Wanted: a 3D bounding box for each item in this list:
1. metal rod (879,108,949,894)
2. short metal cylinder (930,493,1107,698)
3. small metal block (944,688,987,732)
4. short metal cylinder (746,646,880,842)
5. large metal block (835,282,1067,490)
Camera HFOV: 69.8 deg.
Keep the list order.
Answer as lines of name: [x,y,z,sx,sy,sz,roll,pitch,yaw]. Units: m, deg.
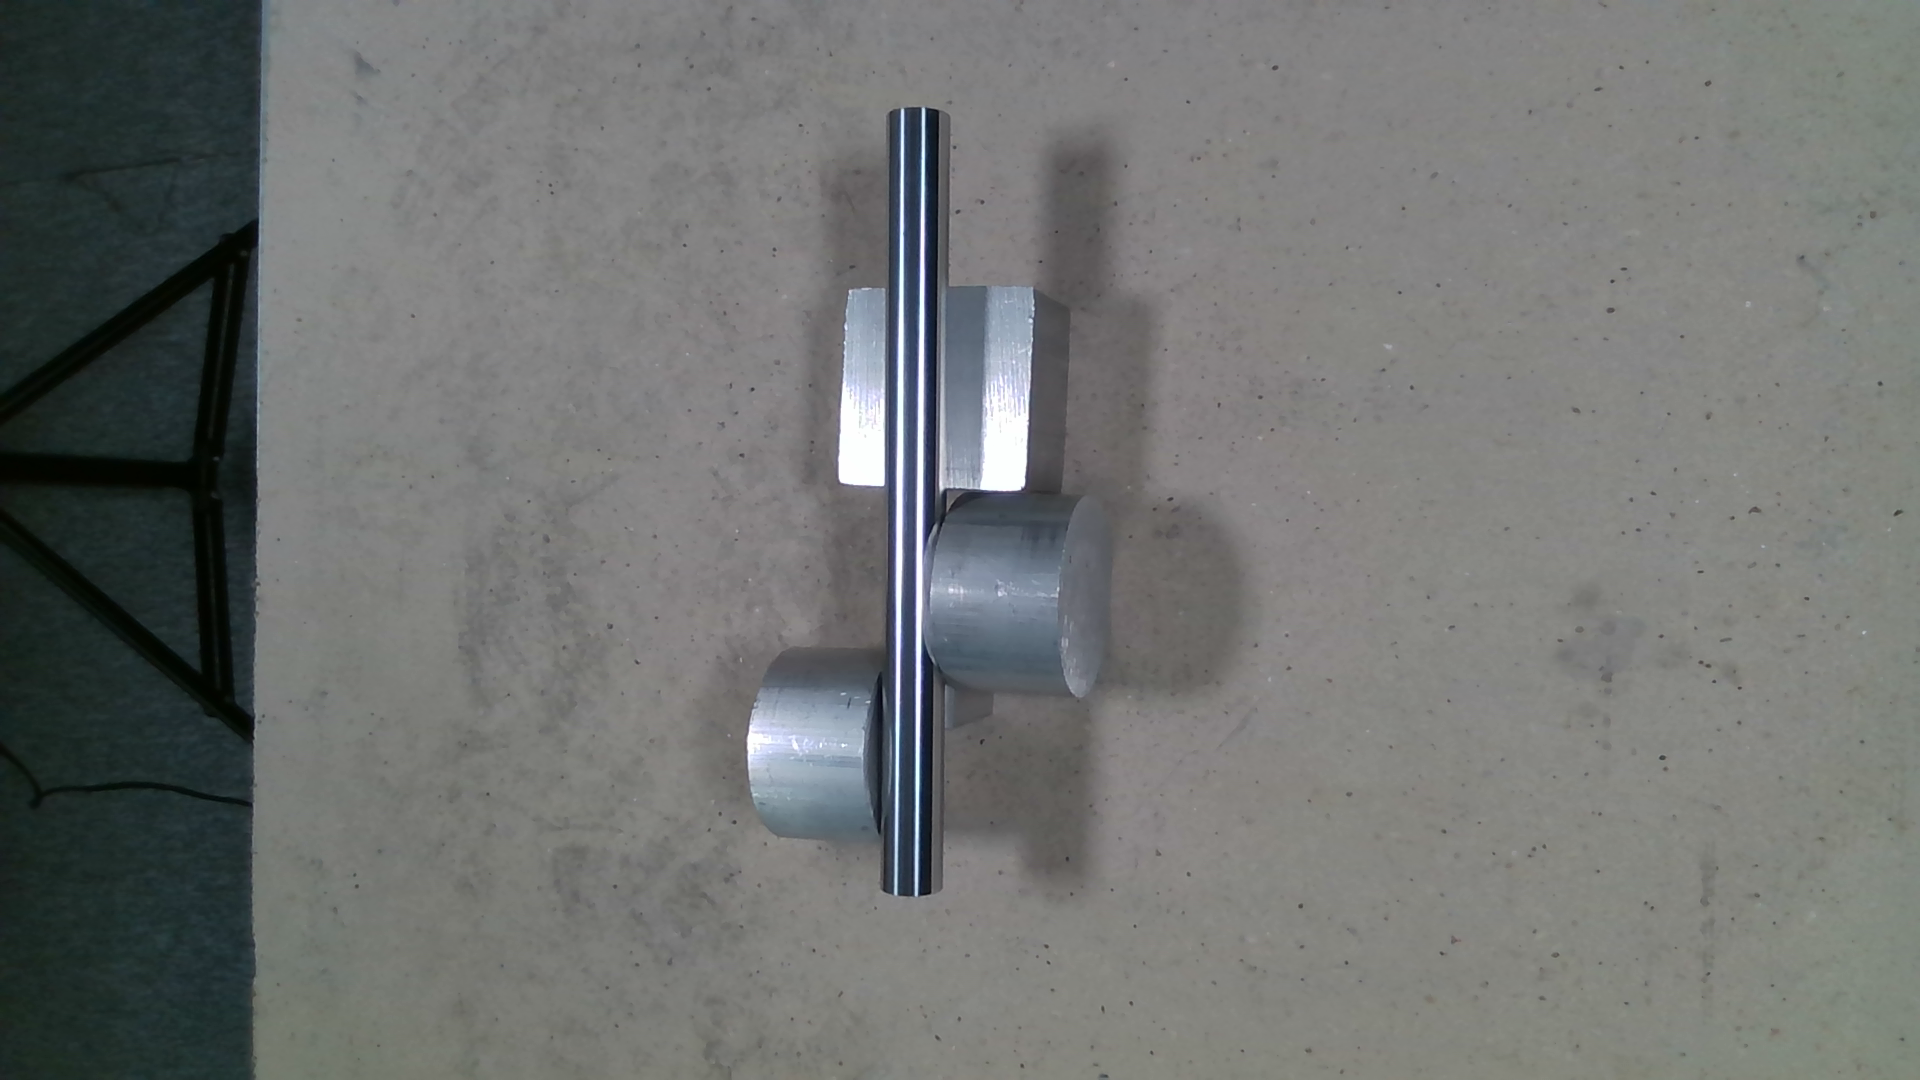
metal rod: [-0.018,-0.014,0.538,0.025,0.025,0.300,1,92,20]
short metal cylinder: [0.026,0.021,0.548,0.050,0.080,0.080,2,91,20]
small metal block: [-0.007,0.051,0.574,0.025,0.050,0.050,1,91,20]
short metal cylinder: [-0.048,0.085,0.574,0.050,0.080,0.080,0,90,20]
large metal block: [-0.003,-0.062,0.569,0.080,0.050,0.080,3,92,20]
